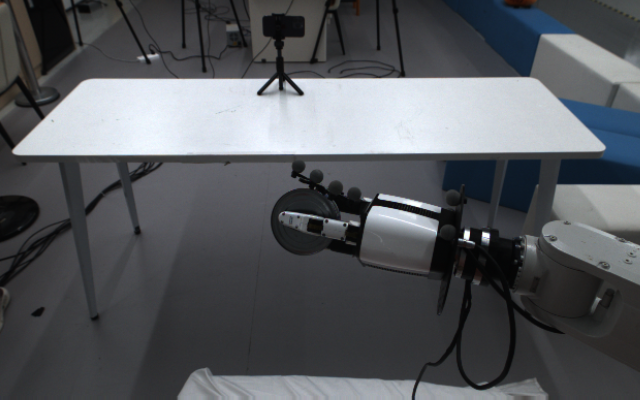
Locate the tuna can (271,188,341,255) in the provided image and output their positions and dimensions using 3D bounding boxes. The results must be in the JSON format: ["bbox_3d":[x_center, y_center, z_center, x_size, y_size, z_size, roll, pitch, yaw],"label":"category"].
[{"bbox_3d":[-0.016,0.026,0.621,0.085,0.085,0.034,10,5,11],"label":"tuna can"}]
